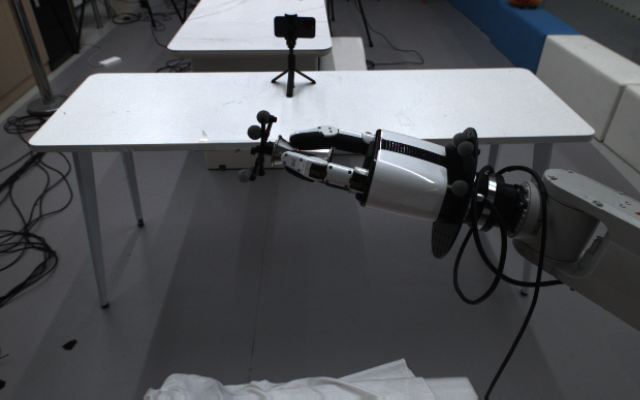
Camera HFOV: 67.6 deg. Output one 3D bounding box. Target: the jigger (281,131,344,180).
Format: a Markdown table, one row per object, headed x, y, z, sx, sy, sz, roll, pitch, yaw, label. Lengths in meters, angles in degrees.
| x | y | z | sx | sy | sz | roll | pitch | yaw | label |
| --- | --- | --- | --- | --- | --- | --- | --- | --- | --- |
| -0.015 | -0.054 | 0.589 | 0.071 | 0.043 | 0.043 | 14 | 36 | 5 | jigger |
